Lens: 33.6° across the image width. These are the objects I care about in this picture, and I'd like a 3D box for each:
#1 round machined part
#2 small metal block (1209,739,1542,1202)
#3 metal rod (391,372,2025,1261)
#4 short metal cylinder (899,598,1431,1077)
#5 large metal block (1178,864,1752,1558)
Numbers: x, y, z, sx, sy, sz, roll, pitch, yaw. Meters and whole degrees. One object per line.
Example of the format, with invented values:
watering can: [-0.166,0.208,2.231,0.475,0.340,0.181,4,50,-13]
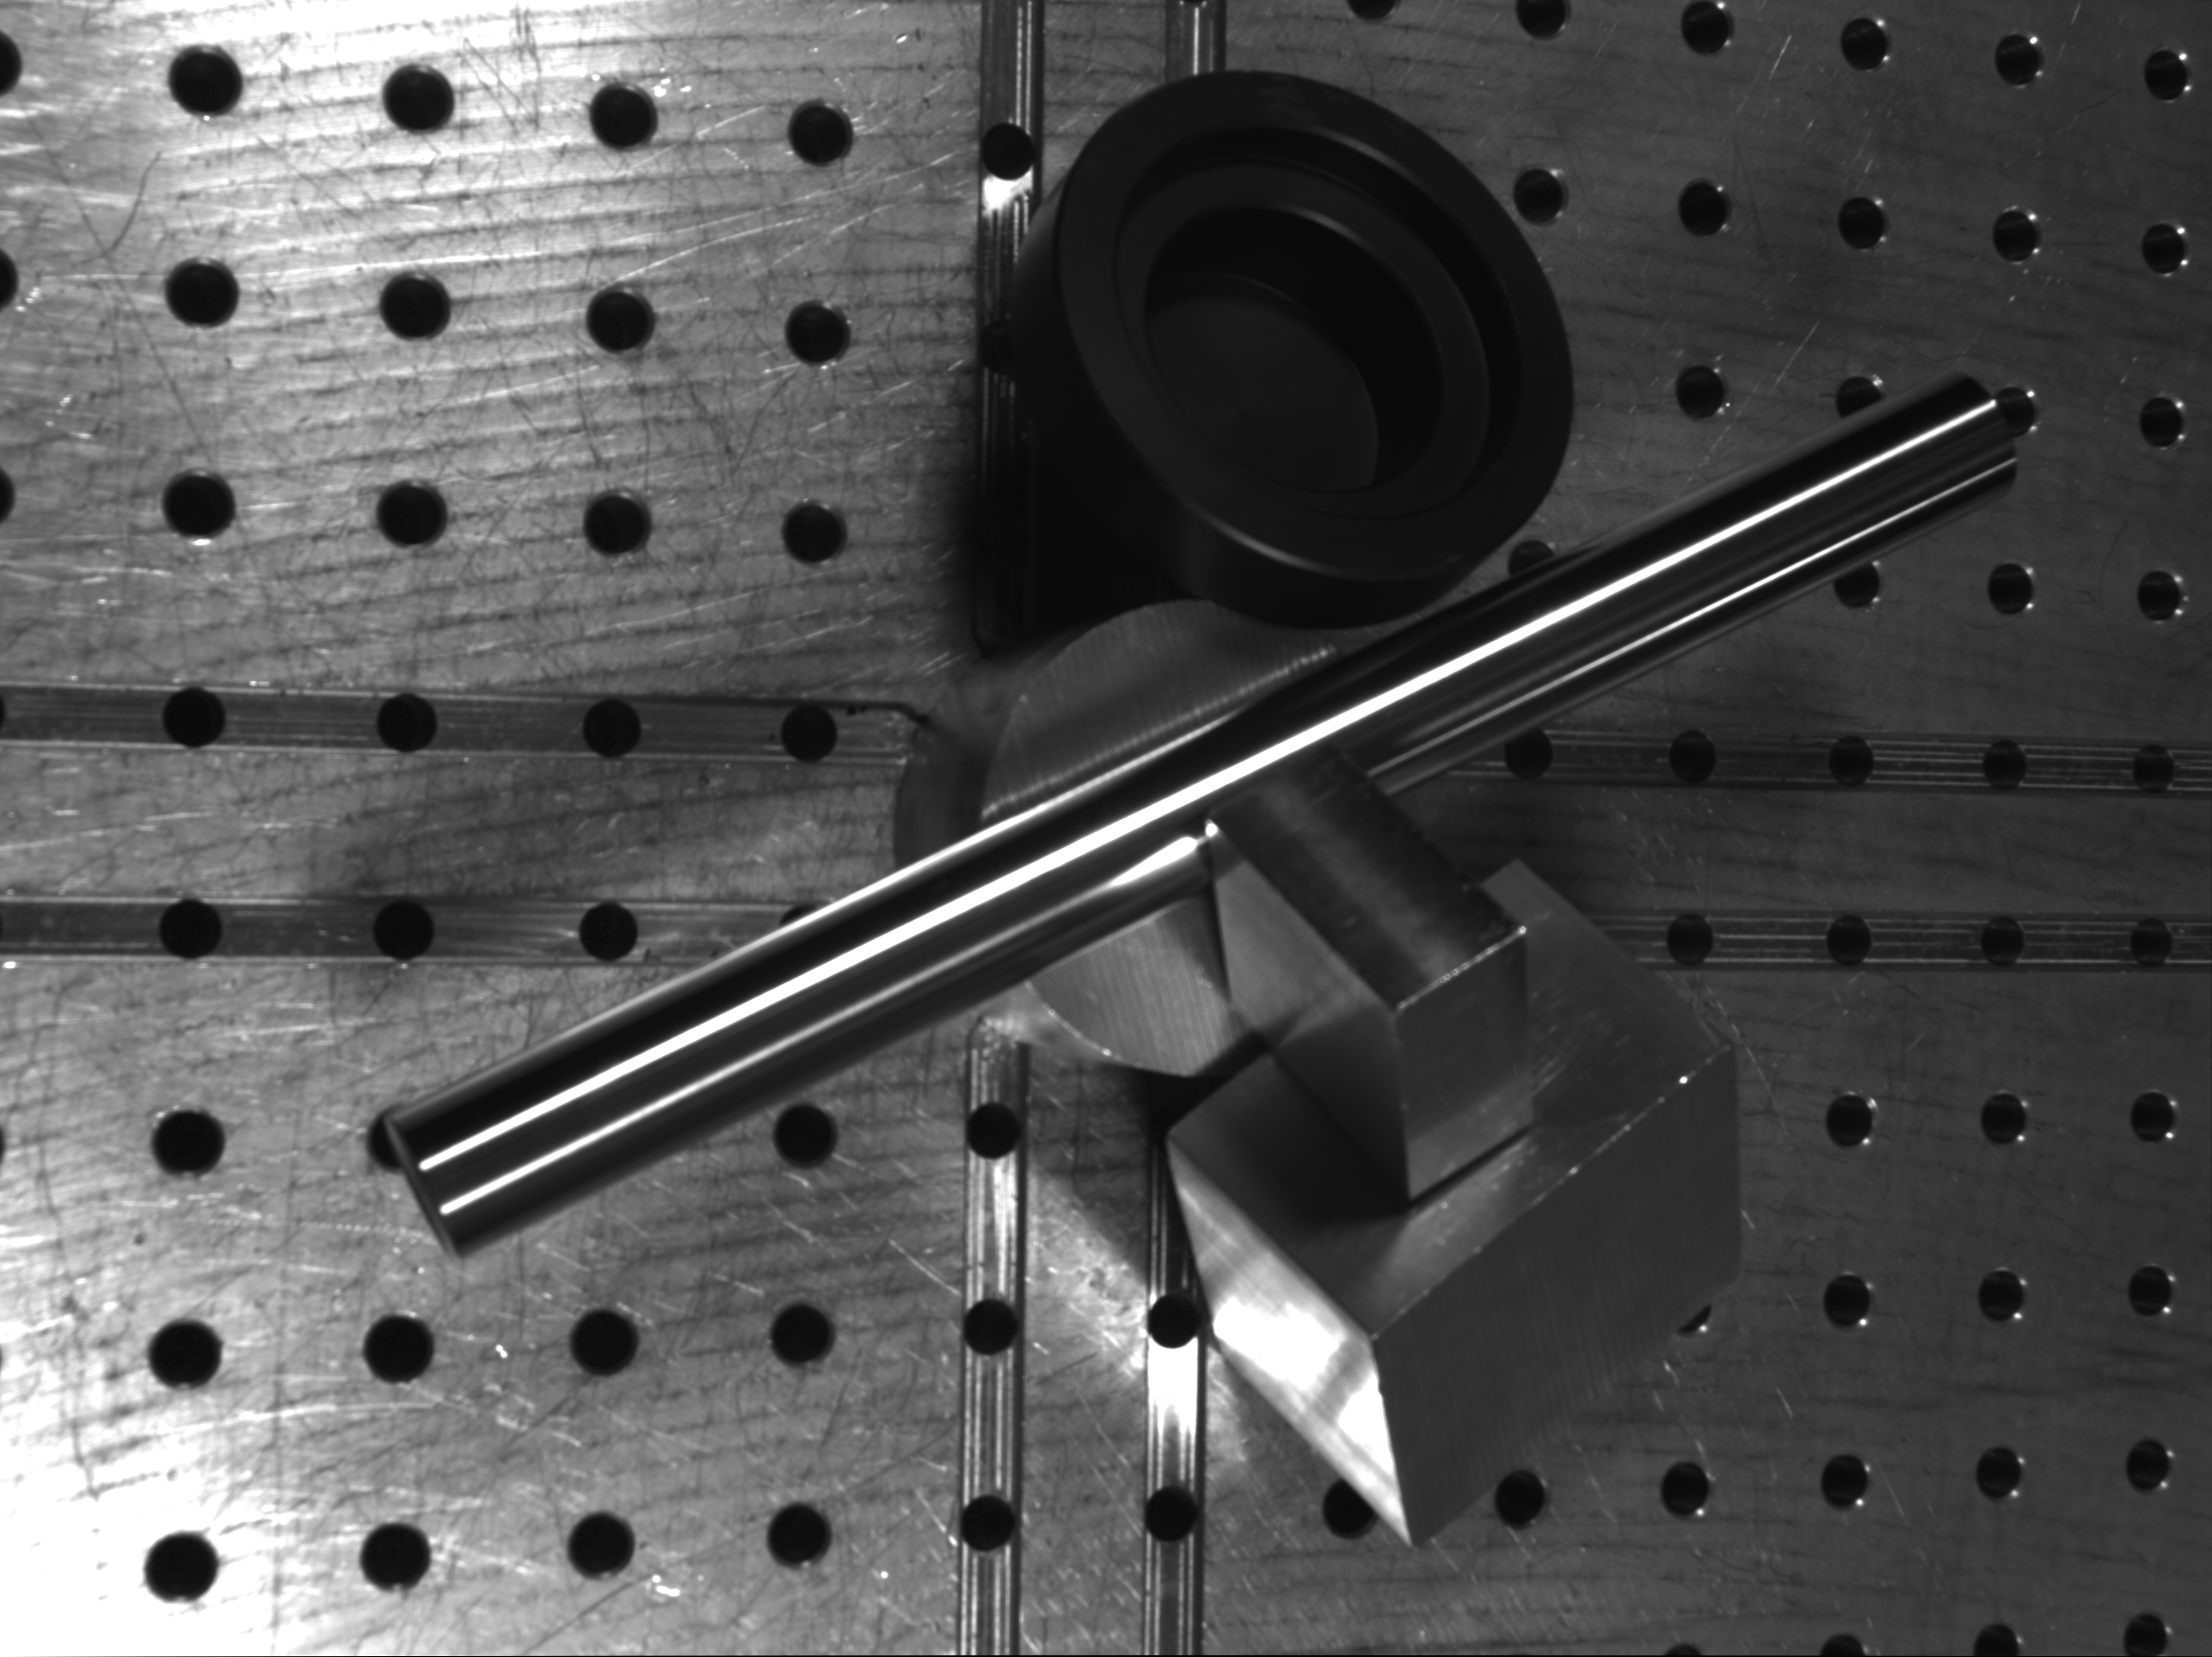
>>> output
round machined part: [0.029,-0.078,0.635,0.098,0.042,0.098,10,63,-22]
small metal block: [0.043,0.023,0.584,0.025,0.050,0.050,-31,142,-17]
metal rod: [0.026,-0.007,0.602,0.300,0.025,0.025,-26,98,-18]
short metal cylinder: [0.010,0.002,0.635,0.080,0.050,0.080,0,90,-20]
large metal block: [0.064,0.067,0.631,0.080,0.050,0.080,-37,146,-16]
